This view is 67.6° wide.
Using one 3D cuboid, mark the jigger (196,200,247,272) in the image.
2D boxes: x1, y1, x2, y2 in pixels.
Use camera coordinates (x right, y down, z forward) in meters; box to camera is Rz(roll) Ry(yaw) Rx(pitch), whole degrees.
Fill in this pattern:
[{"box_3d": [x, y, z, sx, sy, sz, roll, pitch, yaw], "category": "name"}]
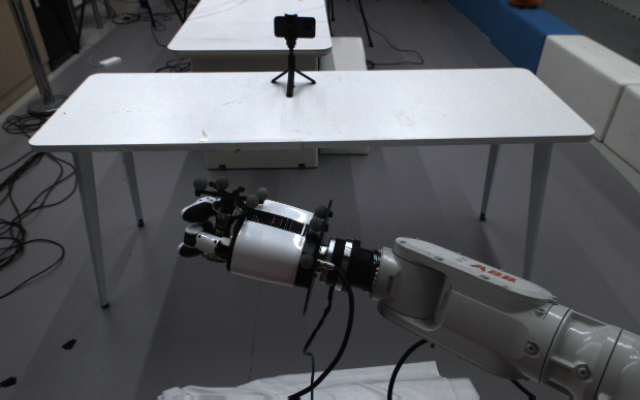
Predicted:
[{"box_3d": [-0.125, 0.041, 0.638, 0.043, 0.071, 0.043, 15, 17, -5], "category": "jigger"}]
